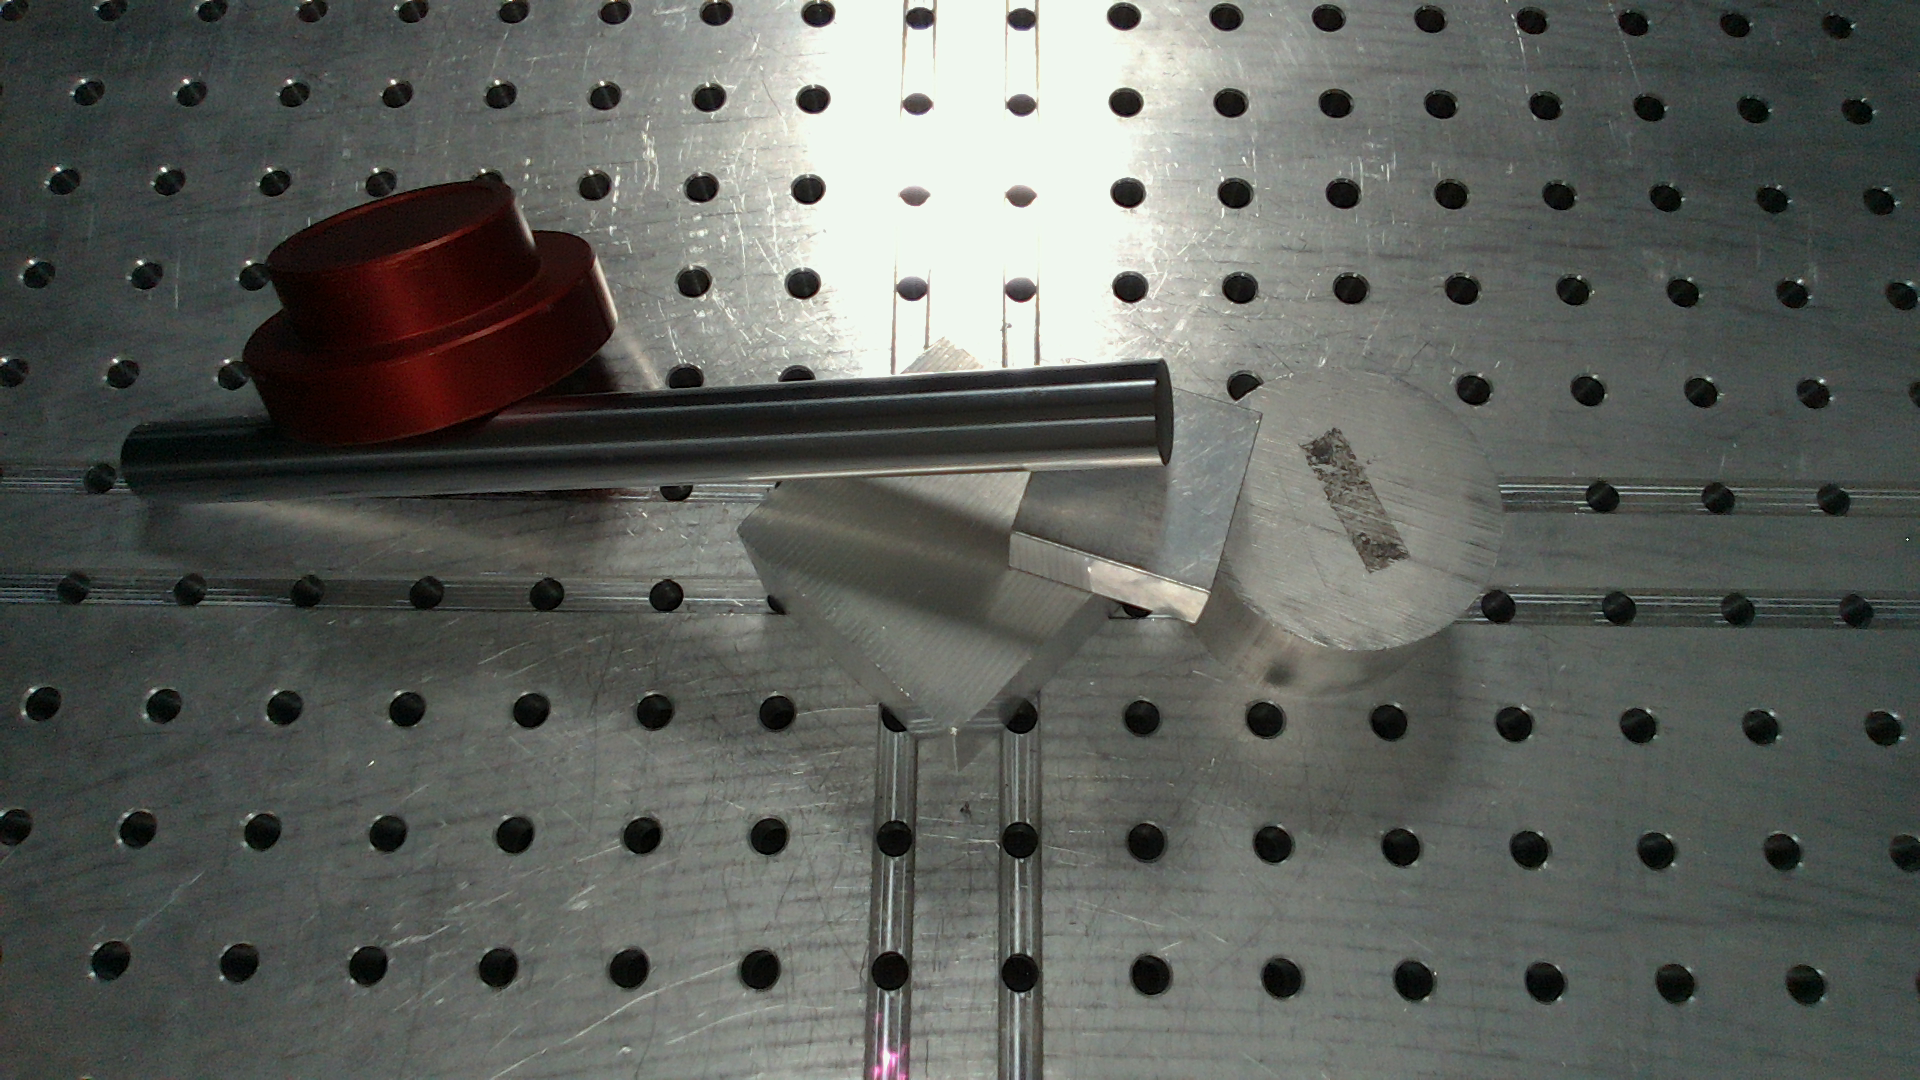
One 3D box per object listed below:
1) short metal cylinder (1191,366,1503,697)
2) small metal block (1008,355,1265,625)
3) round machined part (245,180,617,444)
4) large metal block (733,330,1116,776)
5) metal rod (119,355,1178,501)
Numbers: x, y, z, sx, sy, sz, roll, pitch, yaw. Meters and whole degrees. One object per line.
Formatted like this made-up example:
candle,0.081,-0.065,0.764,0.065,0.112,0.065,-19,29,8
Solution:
short metal cylinder,0.102,-0.001,0.384,0.080,0.050,0.080,0,70,0
small metal block,0.044,-0.013,0.346,0.050,0.025,0.050,17,71,6
round machined part,-0.150,-0.069,0.384,0.098,0.042,0.098,-9,31,6
large metal block,-0.002,0.004,0.380,0.080,0.050,0.080,42,75,14
metal rod,-0.095,-0.027,0.360,0.299,0.025,0.025,-1,69,18
